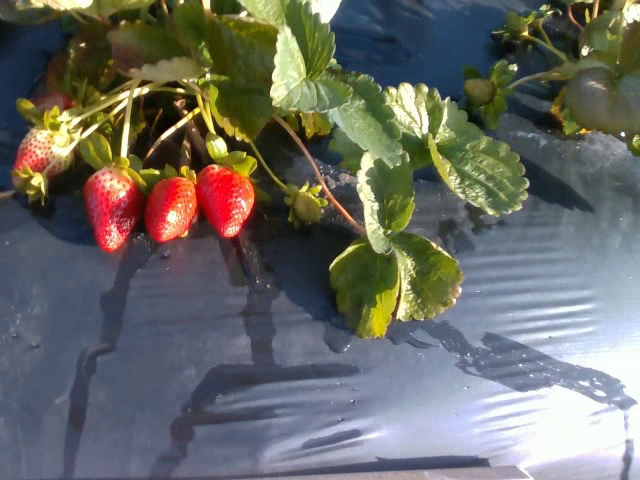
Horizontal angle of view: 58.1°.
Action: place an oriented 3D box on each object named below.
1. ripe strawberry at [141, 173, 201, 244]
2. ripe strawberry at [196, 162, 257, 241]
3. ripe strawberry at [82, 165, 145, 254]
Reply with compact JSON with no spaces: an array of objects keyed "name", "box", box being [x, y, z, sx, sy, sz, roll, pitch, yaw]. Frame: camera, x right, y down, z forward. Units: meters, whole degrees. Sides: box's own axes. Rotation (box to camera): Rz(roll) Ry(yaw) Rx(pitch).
[{"name":"ripe strawberry","box":[-0.076,-0.016,0.288,0.031,0.036,0.039,12,27,-11]},{"name":"ripe strawberry","box":[-0.049,-0.015,0.298,0.035,0.033,0.041,-2,43,-11]},{"name":"ripe strawberry","box":[-0.106,-0.016,0.290,0.032,0.045,0.023,2,-12,-11]}]
